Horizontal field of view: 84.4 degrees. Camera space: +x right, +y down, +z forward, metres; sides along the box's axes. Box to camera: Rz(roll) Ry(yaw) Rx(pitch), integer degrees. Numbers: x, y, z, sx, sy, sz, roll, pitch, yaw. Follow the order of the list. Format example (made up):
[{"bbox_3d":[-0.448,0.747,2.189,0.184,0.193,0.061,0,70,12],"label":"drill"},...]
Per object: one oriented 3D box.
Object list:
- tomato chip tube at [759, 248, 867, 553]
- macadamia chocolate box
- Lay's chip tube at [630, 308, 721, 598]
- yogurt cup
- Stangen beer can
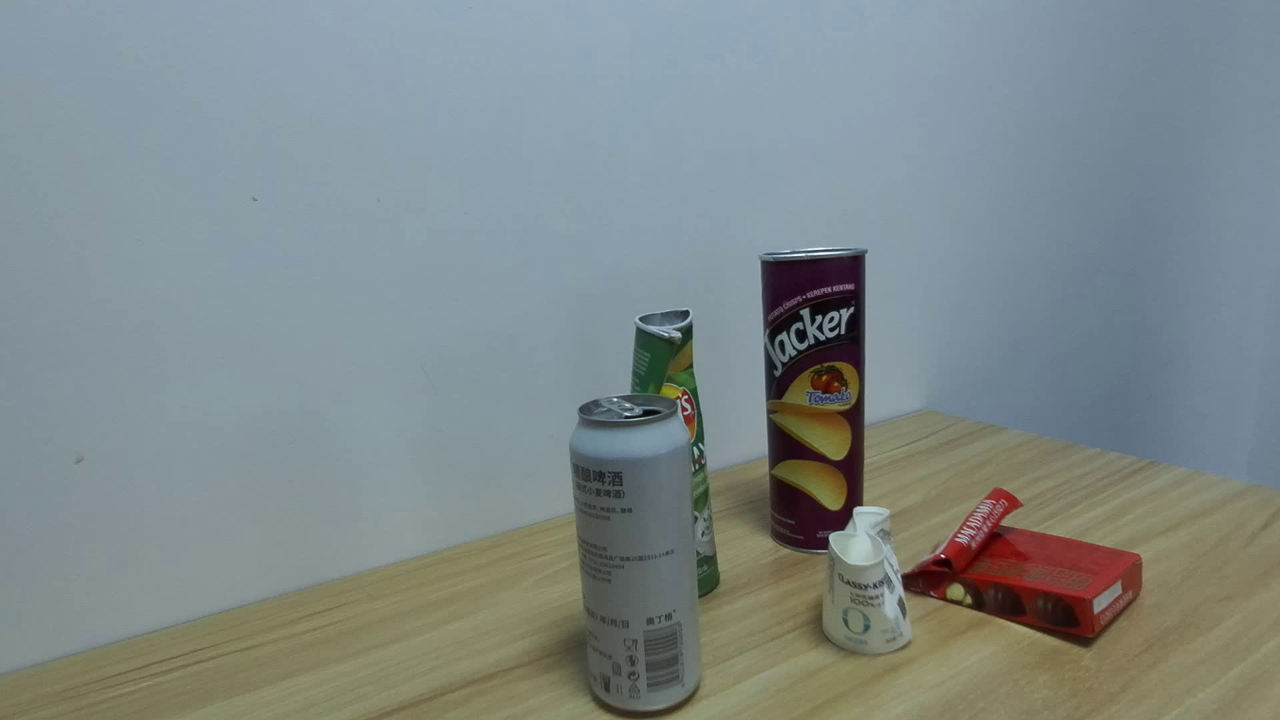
[{"bbox_3d":[0.142,0.031,0.566,0.080,0.234,0.077,2,12,26],"label":"tomato chip tube"},{"bbox_3d":[0.259,0.143,0.488,0.112,0.056,0.126,-29,26,-32],"label":"macadamia chocolate box"},{"bbox_3d":[0.021,0.068,0.512,0.069,0.201,0.077,-7,15,-14],"label":"Lay's chip tube"},{"bbox_3d":[0.141,0.138,0.441,0.054,0.071,0.075,-3,11,-1],"label":"yogurt cup"},{"bbox_3d":[-0.002,0.108,0.397,0.067,0.171,0.067,-3,11,1],"label":"Stangen beer can"}]
